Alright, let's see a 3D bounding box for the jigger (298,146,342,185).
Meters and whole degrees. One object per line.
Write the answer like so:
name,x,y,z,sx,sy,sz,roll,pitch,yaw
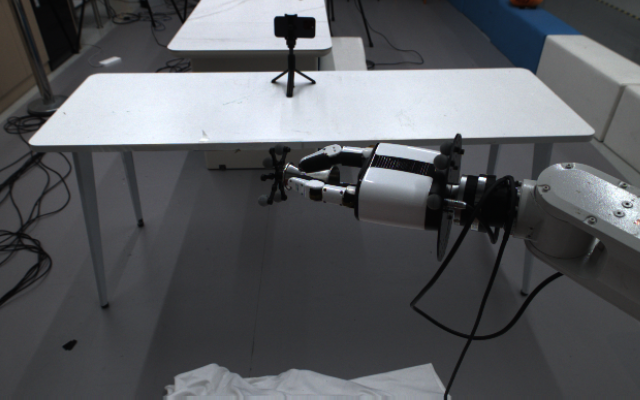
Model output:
jigger,-0.006,-0.032,0.659,0.071,0.043,0.043,8,34,23
